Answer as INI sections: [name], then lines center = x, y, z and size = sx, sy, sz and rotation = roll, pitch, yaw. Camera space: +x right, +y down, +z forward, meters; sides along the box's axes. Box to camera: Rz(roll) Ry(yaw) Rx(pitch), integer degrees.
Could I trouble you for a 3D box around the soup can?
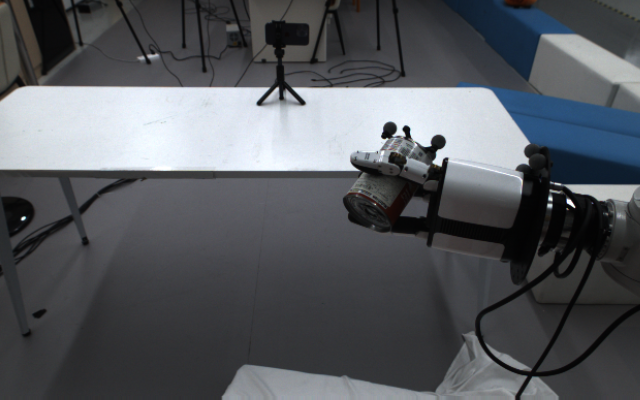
[soup can]
center = 0.084, -0.022, 0.592
size = 0.067, 0.067, 0.101
rotation = 25, 67, 30
